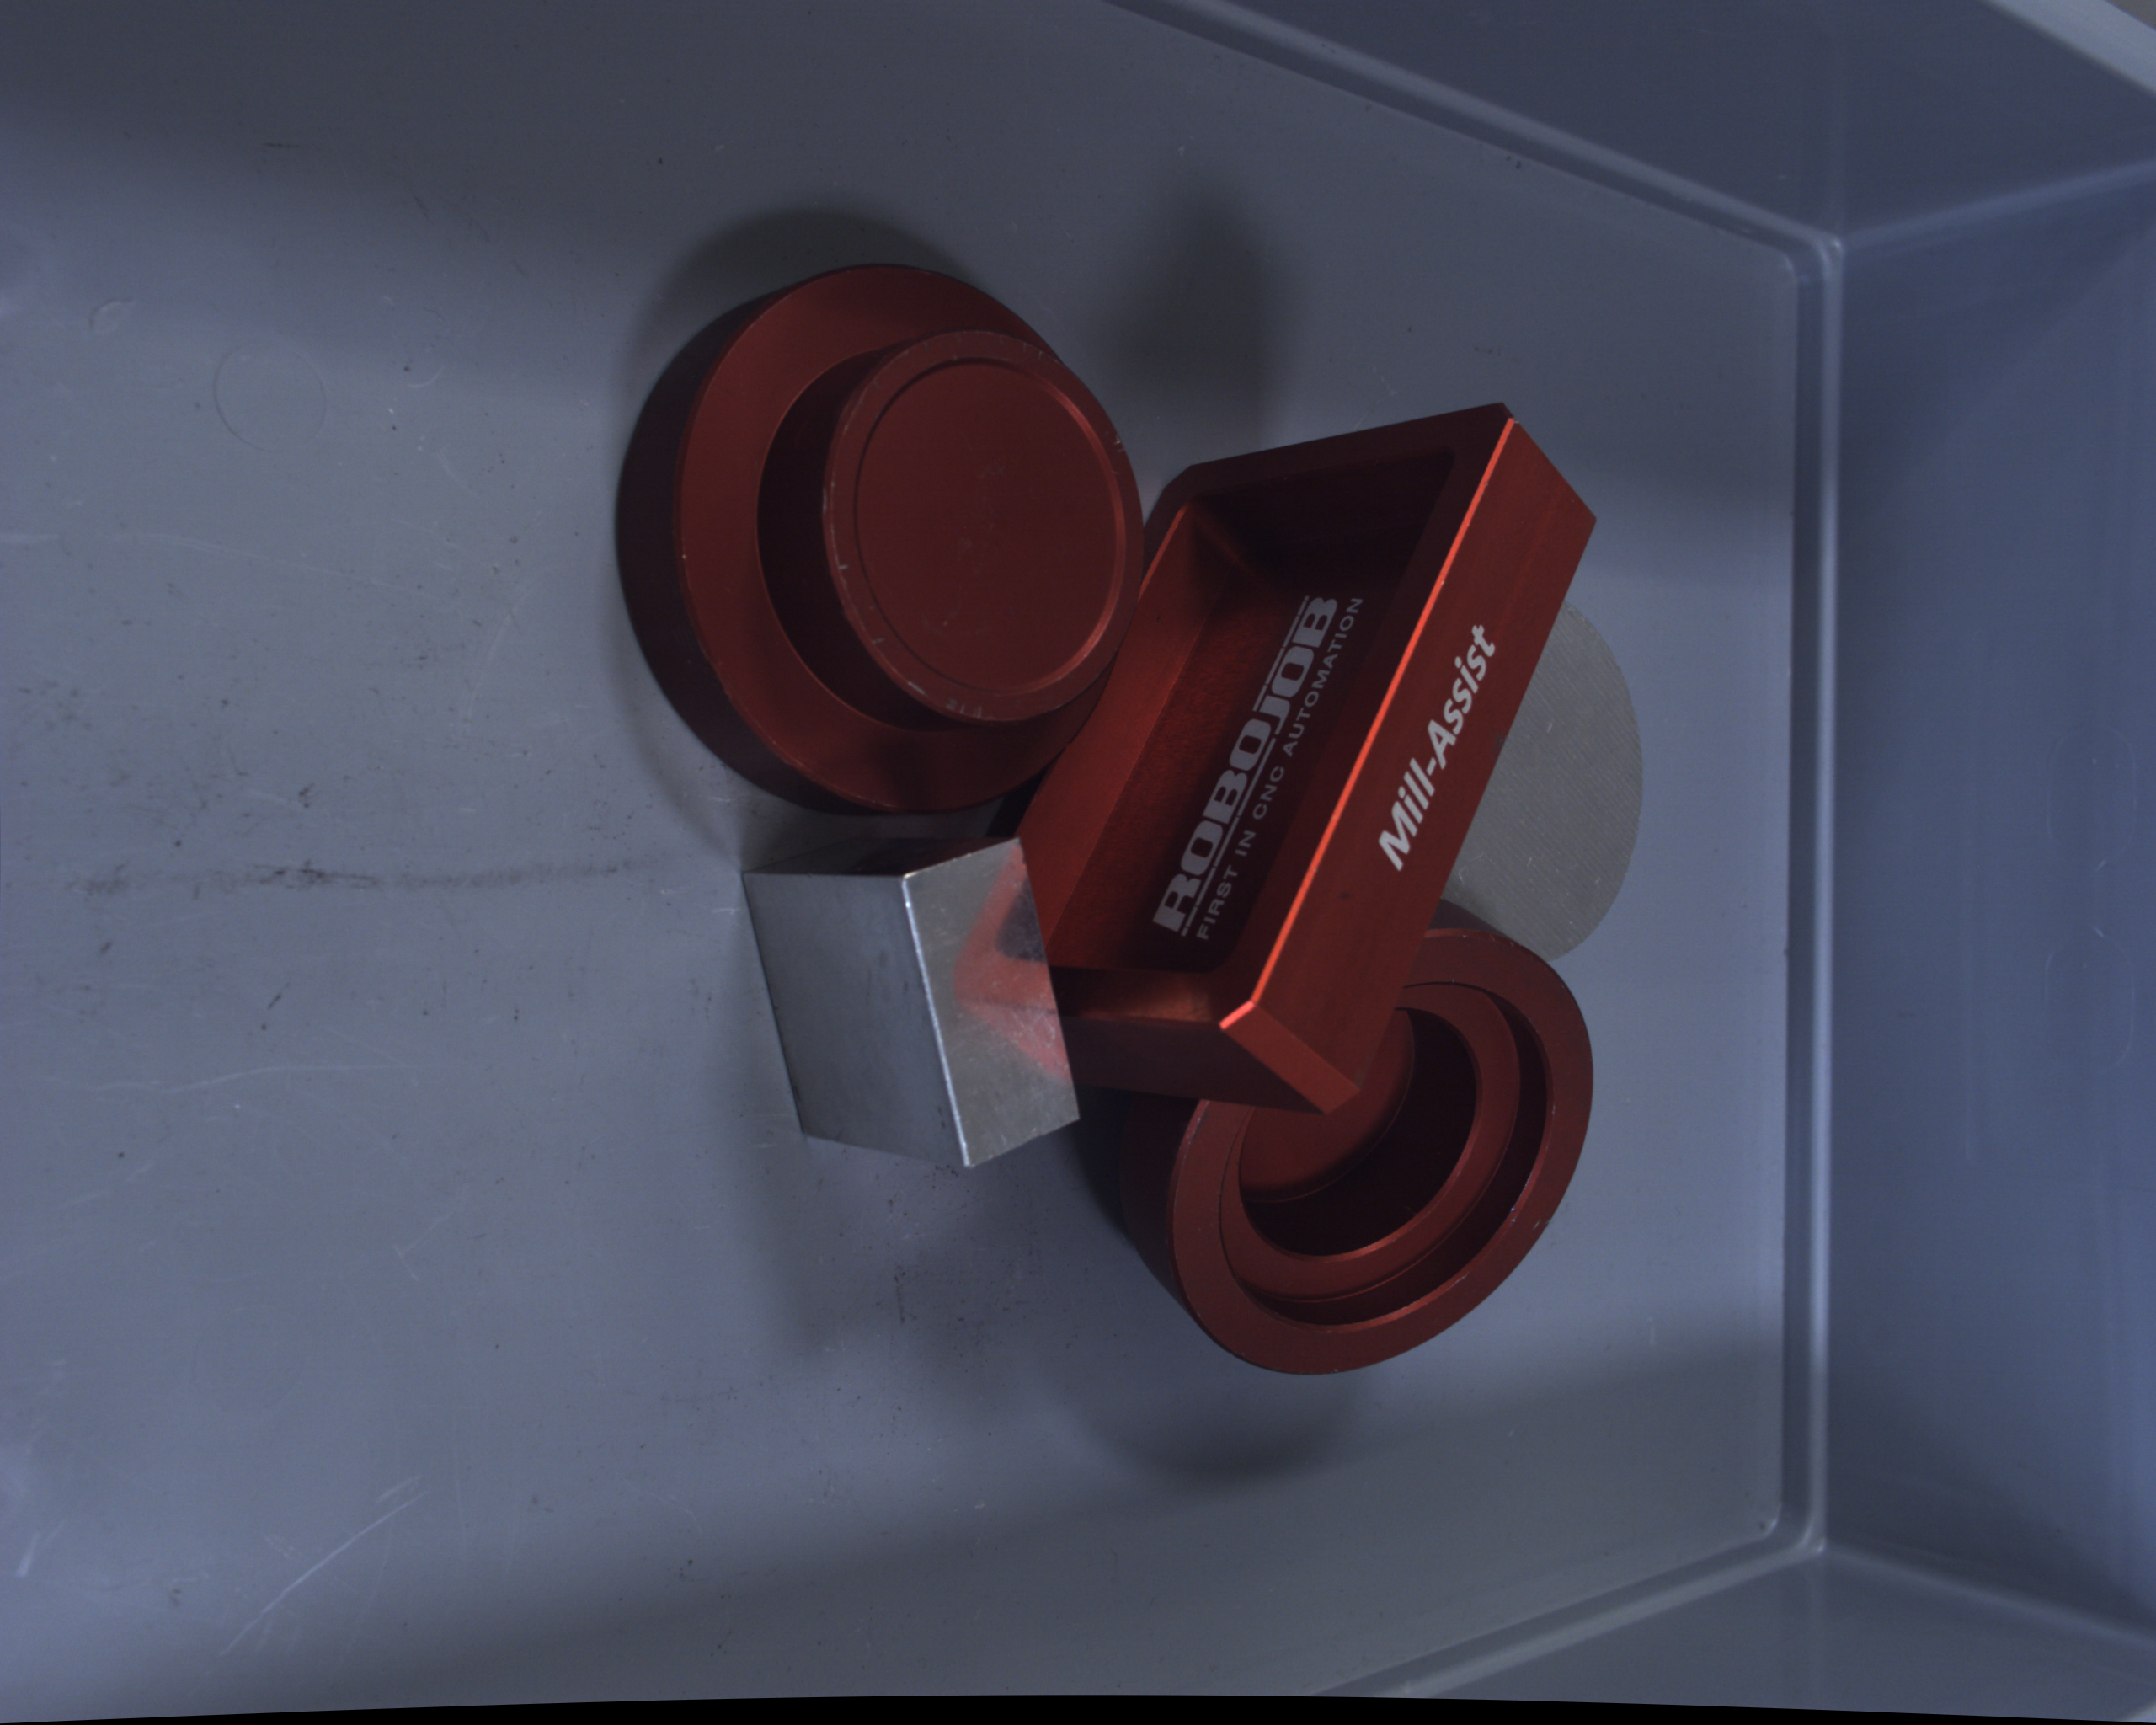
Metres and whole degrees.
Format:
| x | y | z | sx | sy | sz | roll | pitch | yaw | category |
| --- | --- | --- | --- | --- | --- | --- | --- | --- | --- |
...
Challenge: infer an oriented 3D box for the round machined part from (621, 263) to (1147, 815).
| x | y | z | sx | sy | sz | roll | pitch | yaw | category |
| --- | --- | --- | --- | --- | --- | --- | --- | --- | --- |
| -0.027 | -0.057 | 0.370 | 0.099 | 0.042 | 0.097 | 0 | 90 | -40 | round machined part |

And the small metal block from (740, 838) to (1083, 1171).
| x | y | z | sx | sy | sz | roll | pitch | yaw | category |
| --- | --- | --- | --- | --- | --- | --- | --- | --- | --- |
| -0.030 | 0.023 | 0.363 | 0.025 | 0.050 | 0.050 | -20 | 103 | -38 | small metal block |

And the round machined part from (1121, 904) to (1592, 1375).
| x | y | z | sx | sy | sz | roll | pitch | yaw | category |
| --- | --- | --- | --- | --- | --- | --- | --- | --- | --- |
| 0.052 | 0.051 | 0.422 | 0.099 | 0.042 | 0.097 | -12 | 116 | -24 | round machined part |

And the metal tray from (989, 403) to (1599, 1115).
| x | y | z | sx | sy | sz | roll | pitch | yaw | category |
| --- | --- | --- | --- | --- | --- | --- | --- | --- | --- |
| 0.033 | -0.021 | 0.389 | 0.030 | 0.090 | 0.130 | 40 | 65 | -33 | metal tray |

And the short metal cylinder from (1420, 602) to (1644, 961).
| x | y | z | sx | sy | sz | roll | pitch | yaw | category |
| --- | --- | --- | --- | --- | --- | --- | --- | --- | --- |
| 0.078 | -0.018 | 0.453 | 0.081 | 0.050 | 0.079 | 0 | 90 | -40 | short metal cylinder |
